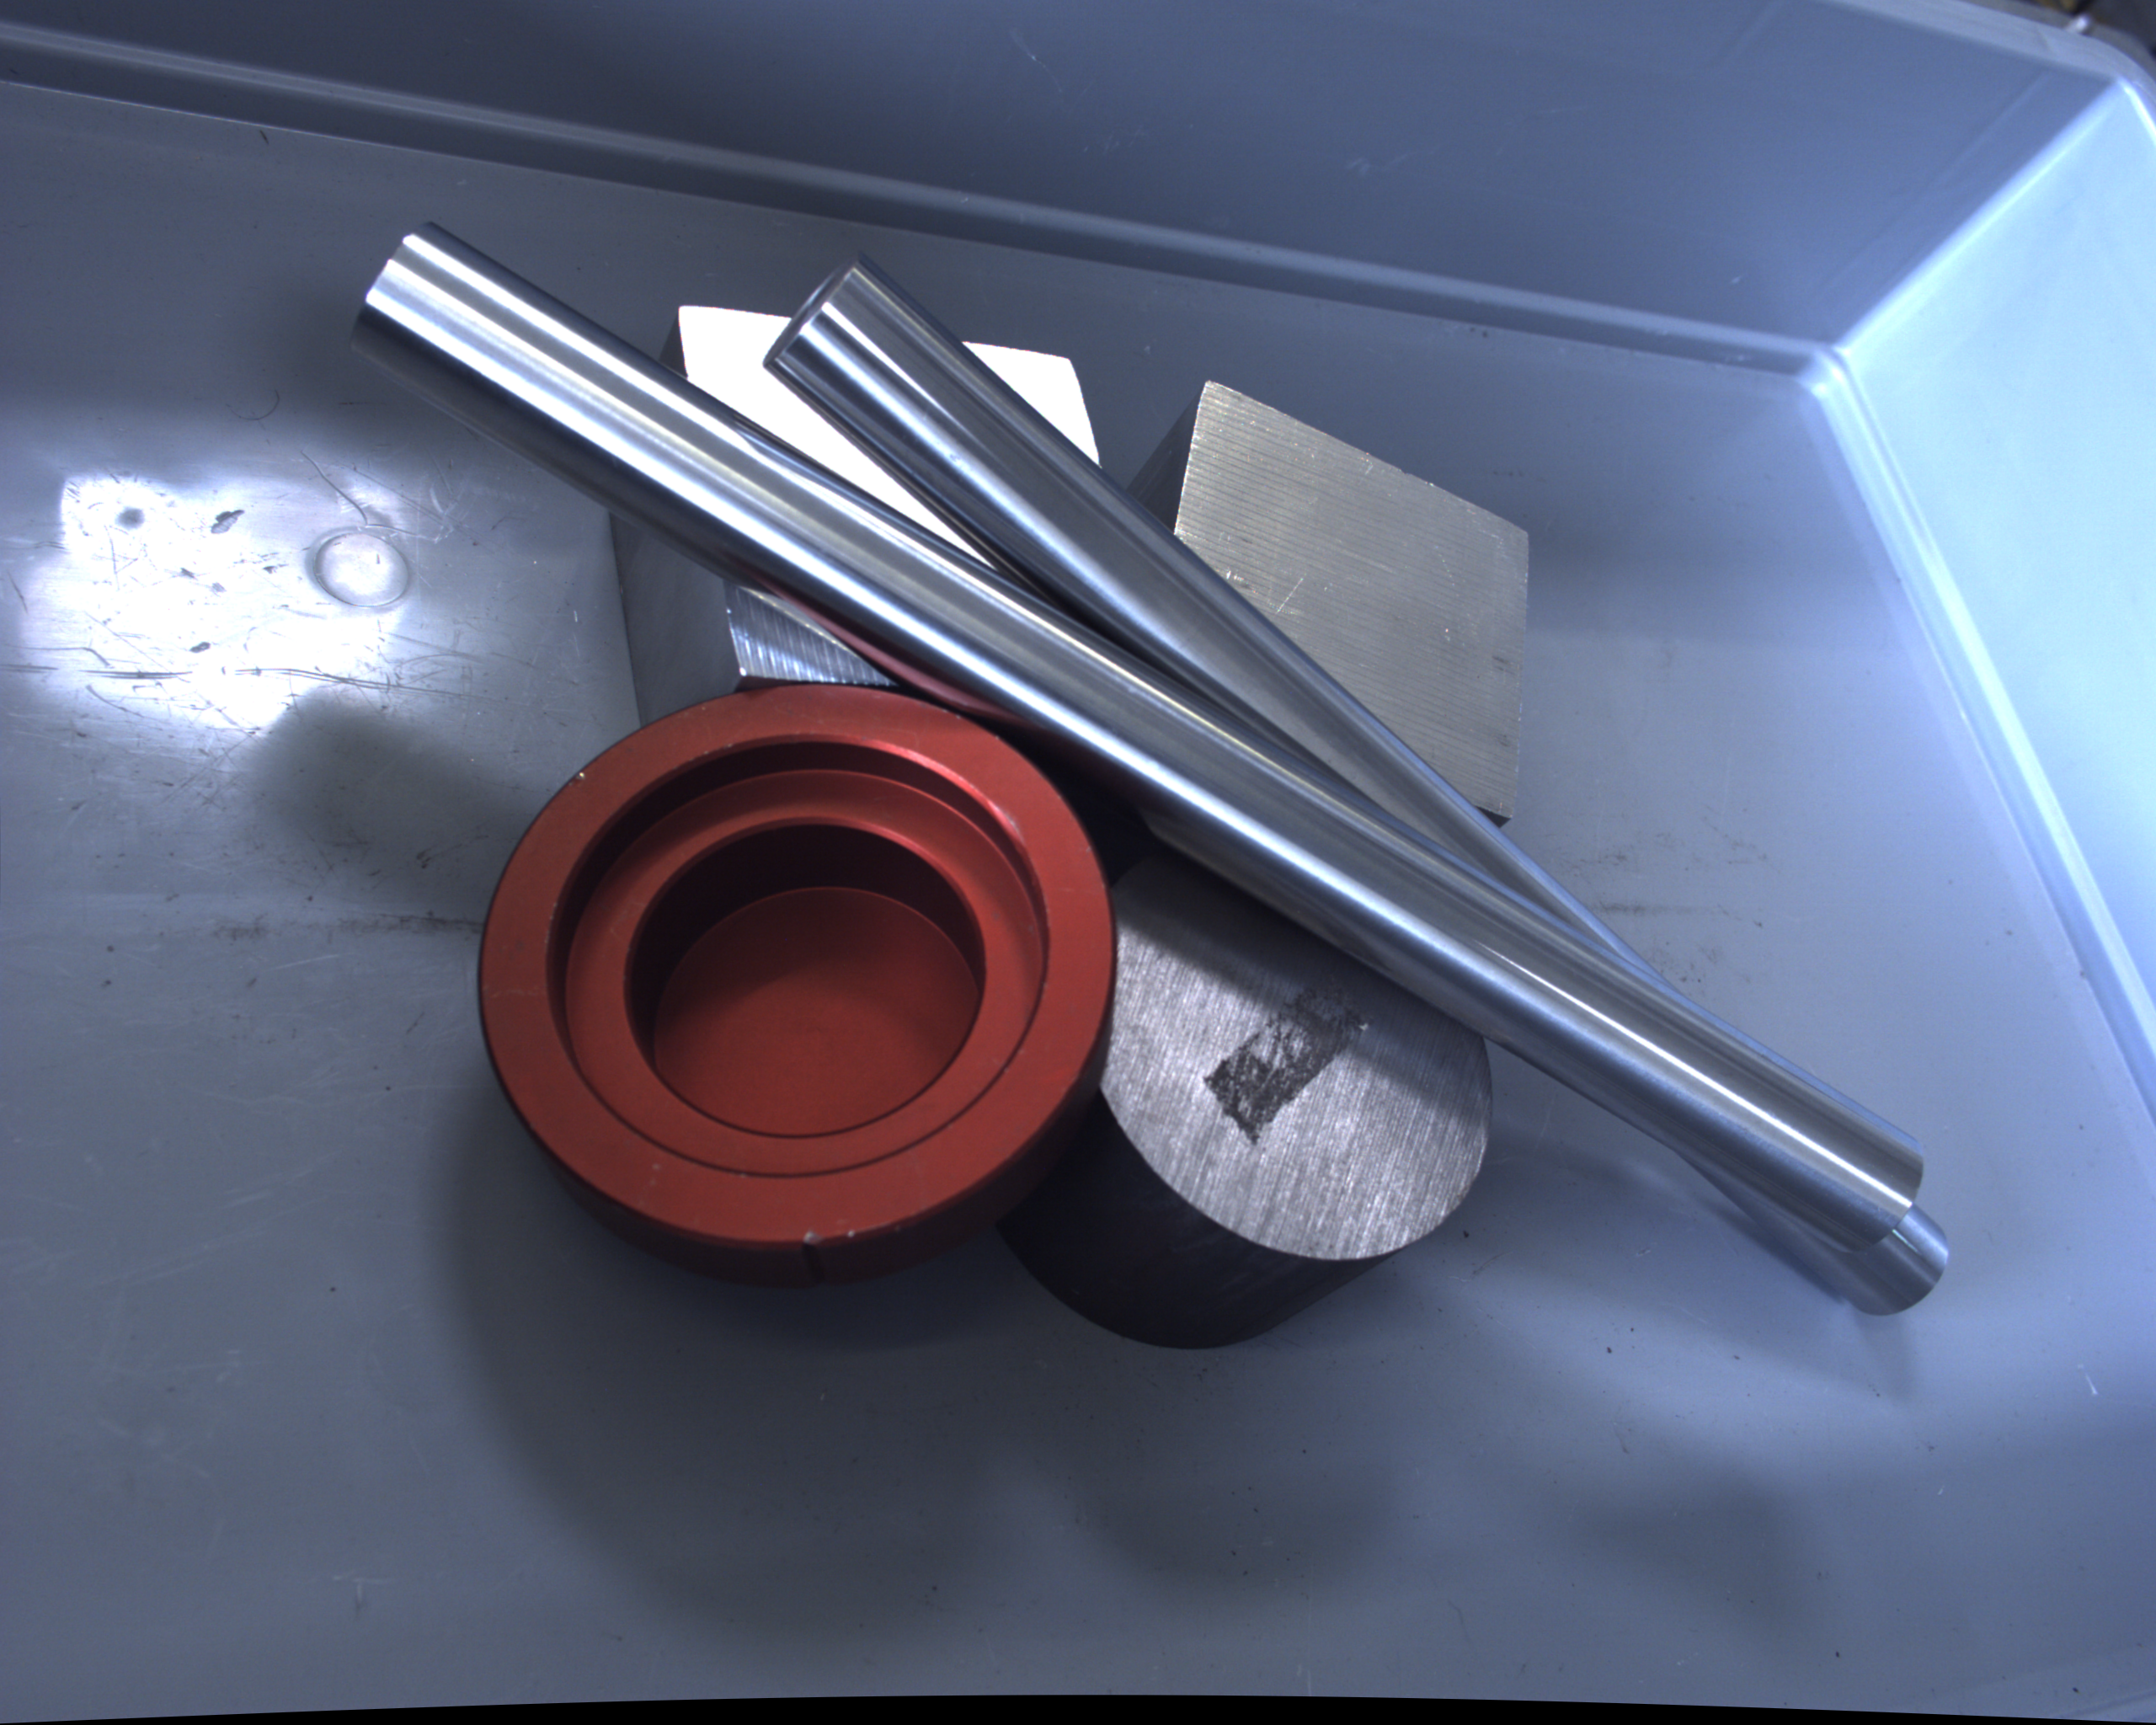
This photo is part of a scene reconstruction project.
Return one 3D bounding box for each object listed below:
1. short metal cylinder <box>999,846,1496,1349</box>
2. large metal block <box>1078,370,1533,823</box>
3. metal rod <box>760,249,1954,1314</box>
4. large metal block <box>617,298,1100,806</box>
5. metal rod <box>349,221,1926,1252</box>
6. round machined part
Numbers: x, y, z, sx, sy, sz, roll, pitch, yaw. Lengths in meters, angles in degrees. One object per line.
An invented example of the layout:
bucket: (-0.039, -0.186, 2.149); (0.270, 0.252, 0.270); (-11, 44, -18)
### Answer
short metal cylinder: (0.027, 0.041, 0.376); (0.081, 0.050, 0.080); (14, 56, -21)
large metal block: (0.046, -0.044, 0.437); (0.080, 0.050, 0.080); (22, 54, -15)
metal rod: (0.066, -0.002, 0.392); (0.301, 0.025, 0.025); (39, 50, -21)
large metal block: (-0.039, -0.054, 0.396); (0.081, 0.050, 0.080); (1, 61, -28)
metal rod: (0.019, -0.015, 0.357); (0.301, 0.025, 0.025); (31, 52, -10)
round machined part: (-0.044, 0.023, 0.341); (0.099, 0.042, 0.098); (1, 61, -1)
